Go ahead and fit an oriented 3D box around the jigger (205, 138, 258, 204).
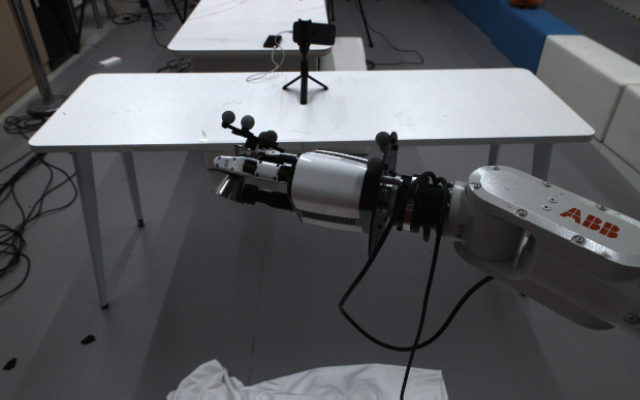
[{"bbox_3d":[-0.107,-0.035,0.622,0.043,0.071,0.043,24,-2,1],"label":"jigger"}]
